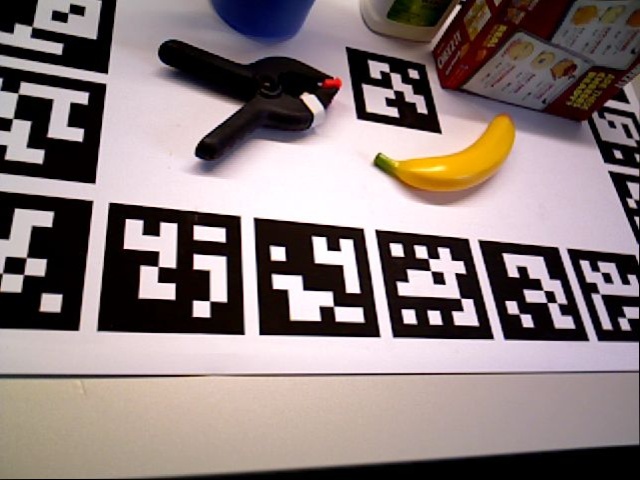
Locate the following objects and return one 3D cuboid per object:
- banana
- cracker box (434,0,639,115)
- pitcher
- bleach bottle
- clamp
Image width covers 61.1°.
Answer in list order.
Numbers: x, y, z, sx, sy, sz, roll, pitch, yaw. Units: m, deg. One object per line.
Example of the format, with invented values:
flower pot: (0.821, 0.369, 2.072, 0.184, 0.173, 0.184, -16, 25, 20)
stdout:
banana: (0.147, -0.088, 0.569, 0.193, 0.040, 0.074, -34, 78, -34)
cracker box: (0.260, -0.232, 0.592, 0.211, 0.168, 0.071, 3, 57, -20)
pitcher: (-0.042, -0.299, 0.445, 0.185, 0.248, 0.133, -16, 68, -33)
bleach bottle: (0.117, -0.317, 0.546, 0.101, 0.257, 0.067, 2, 60, -22)
clamp: (-0.055, -0.122, 0.493, 0.162, 0.037, 0.121, -14, 67, -31)
